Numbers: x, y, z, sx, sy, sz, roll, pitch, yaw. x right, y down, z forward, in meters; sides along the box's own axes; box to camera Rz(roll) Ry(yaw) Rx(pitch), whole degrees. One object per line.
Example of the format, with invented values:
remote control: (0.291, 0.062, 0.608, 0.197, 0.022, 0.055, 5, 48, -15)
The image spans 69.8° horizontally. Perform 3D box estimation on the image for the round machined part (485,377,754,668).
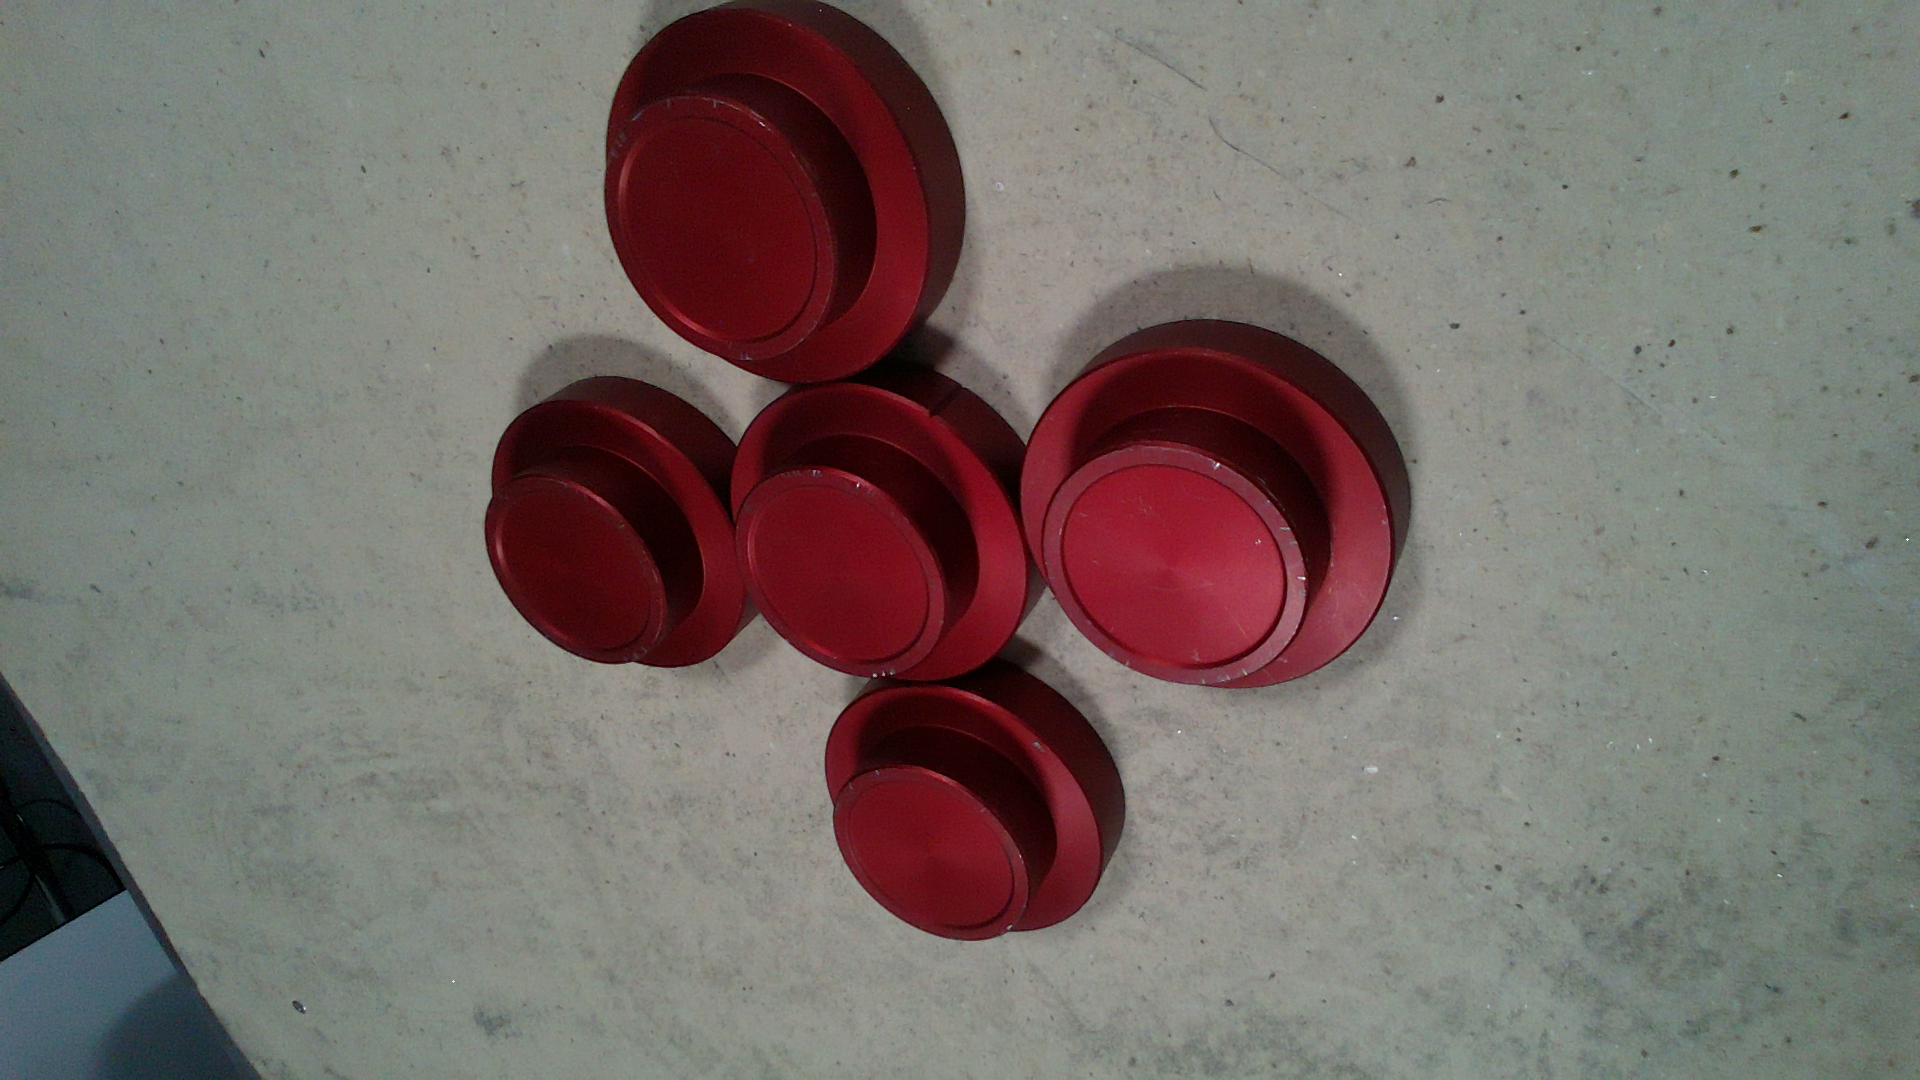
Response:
round machined part: (-0.112, 0.001, 0.443, 0.098, 0.042, 0.098, 13, 124, 21)

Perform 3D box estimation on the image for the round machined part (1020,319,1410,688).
round machined part: (0.060, -0.003, 0.348, 0.098, 0.042, 0.098, 13, 124, 21)

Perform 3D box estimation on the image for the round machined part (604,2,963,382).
round machined part: (-0.052, -0.086, 0.357, 0.098, 0.042, 0.098, 13, 124, 21)

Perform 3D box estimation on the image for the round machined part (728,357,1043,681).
round machined part: (-0.026, 0.000, 0.396, 0.098, 0.042, 0.098, 13, 124, 21)

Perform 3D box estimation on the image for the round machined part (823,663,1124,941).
round machined part: (-0.001, 0.087, 0.436, 0.098, 0.042, 0.098, 13, 124, 21)
